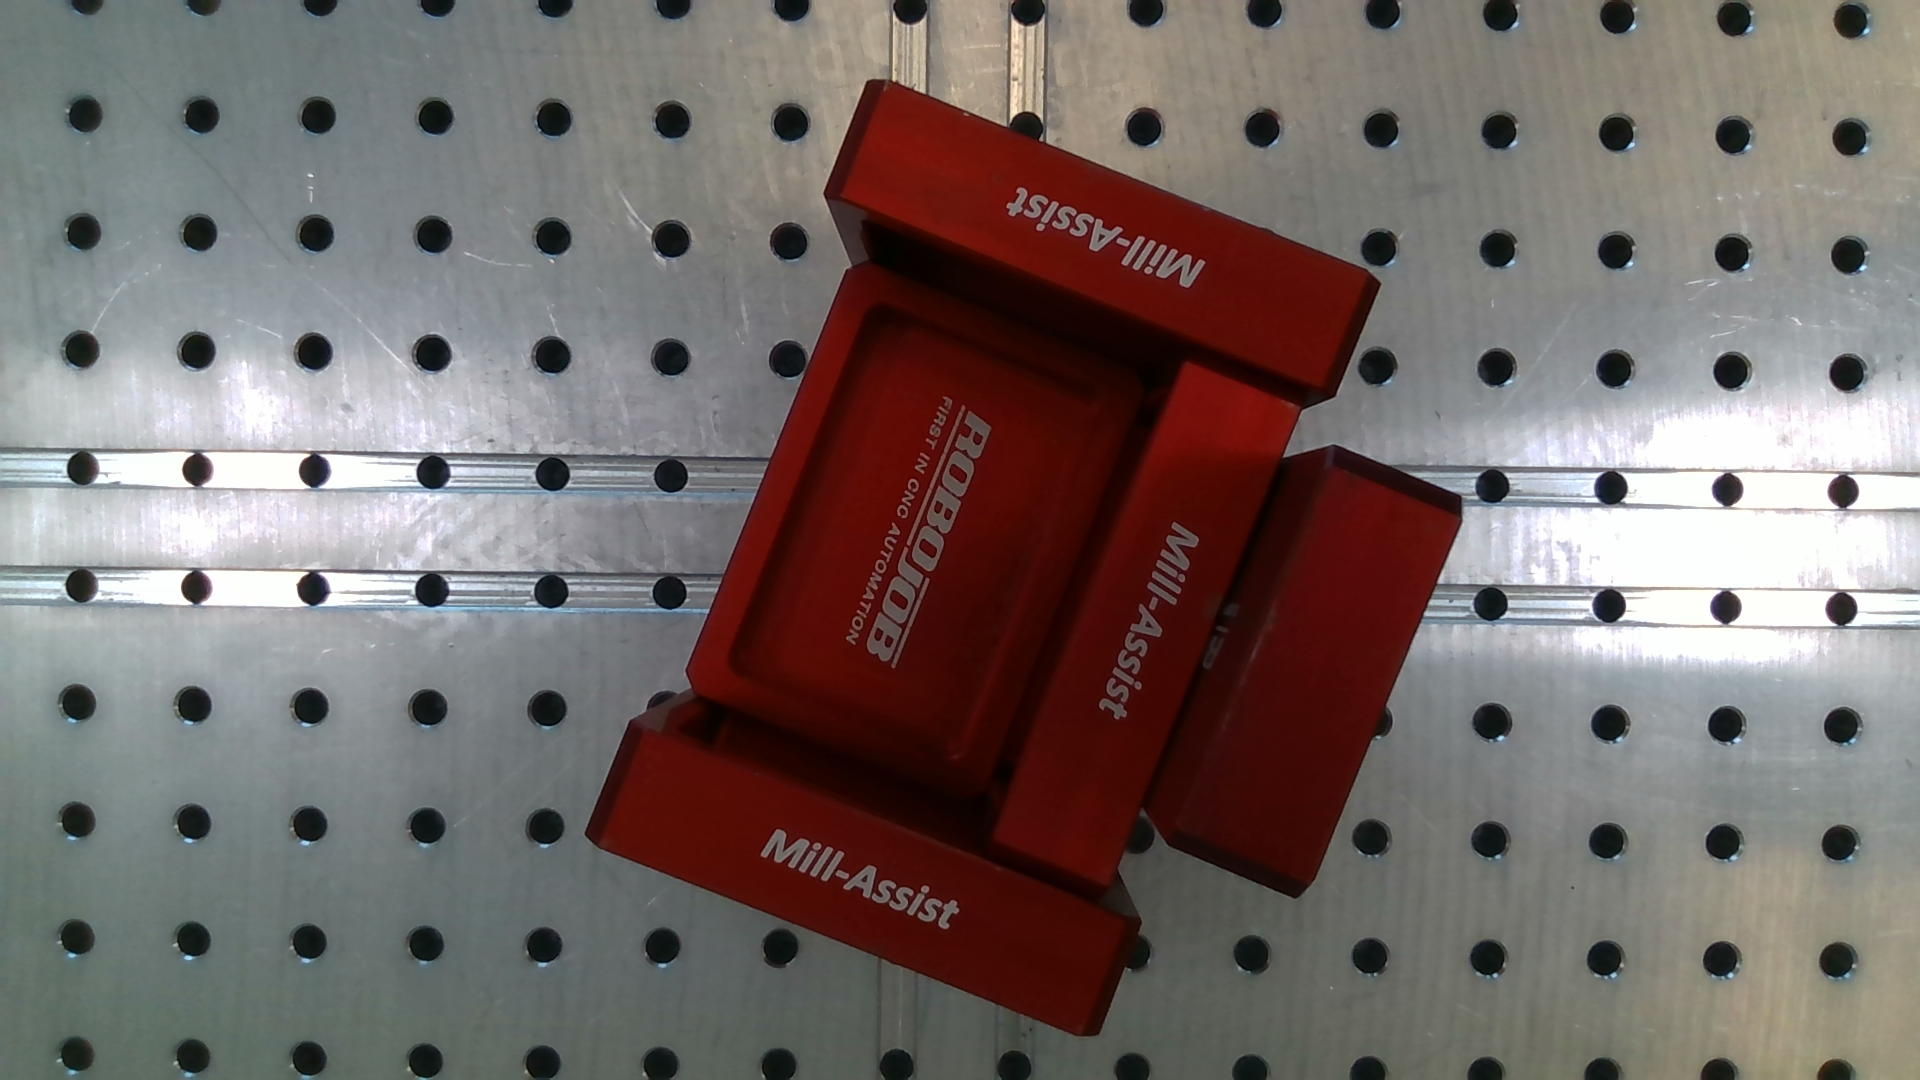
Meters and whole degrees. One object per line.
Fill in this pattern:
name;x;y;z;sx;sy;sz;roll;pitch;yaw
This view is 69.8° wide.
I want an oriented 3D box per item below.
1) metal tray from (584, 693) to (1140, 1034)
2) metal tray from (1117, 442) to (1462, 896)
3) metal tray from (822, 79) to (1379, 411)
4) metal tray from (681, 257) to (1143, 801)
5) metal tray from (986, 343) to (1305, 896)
metal tray;-0.023;0.079;0.365;0.130;0.090;0.030;21;90;0
metal tray;0.074;0.027;0.345;0.030;0.130;0.090;22;90;0
metal tray;0.033;-0.071;0.364;0.130;0.090;0.030;22;90;0
metal tray;-0.013;-0.003;0.394;0.090;0.030;0.130;22;90;0
metal tray;0.044;0.019;0.365;0.030;0.090;0.130;22;90;0
